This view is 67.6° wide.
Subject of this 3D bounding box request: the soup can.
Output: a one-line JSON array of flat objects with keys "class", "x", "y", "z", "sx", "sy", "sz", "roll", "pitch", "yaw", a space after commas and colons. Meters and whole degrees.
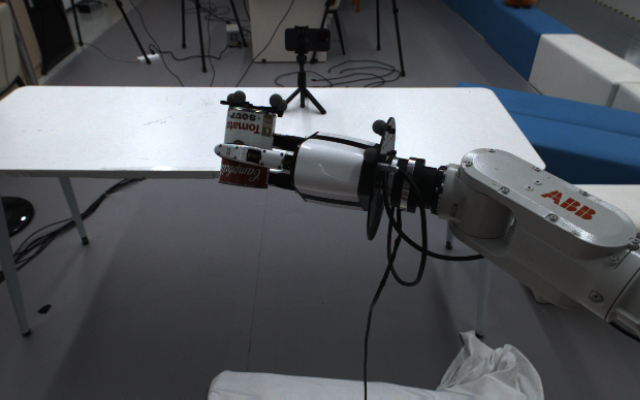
[{"class": "soup can", "x": -0.097, "y": -0.069, "z": 0.659, "sx": 0.067, "sy": 0.101, "sz": 0.067, "roll": 7, "pitch": 4, "yaw": 0}]
